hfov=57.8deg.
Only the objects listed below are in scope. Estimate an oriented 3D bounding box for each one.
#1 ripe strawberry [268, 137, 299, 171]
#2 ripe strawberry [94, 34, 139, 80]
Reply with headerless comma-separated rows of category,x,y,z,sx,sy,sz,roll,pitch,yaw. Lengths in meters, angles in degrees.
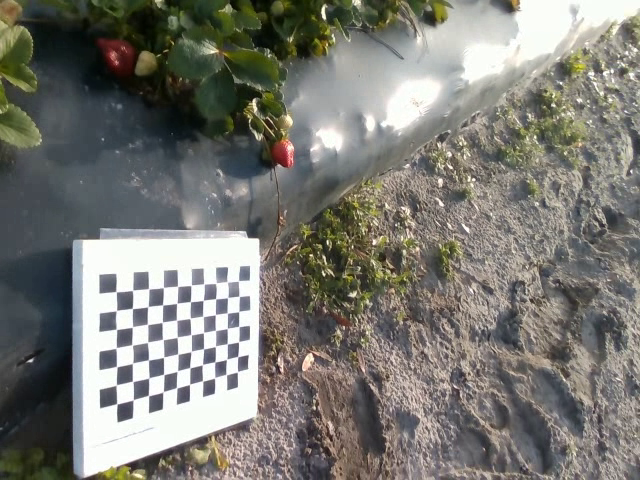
ripe strawberry,-0.054,-0.143,0.957,0.035,0.050,0.048,-5,19,41
ripe strawberry,-0.291,-0.257,0.816,0.057,0.058,0.071,5,-7,14
